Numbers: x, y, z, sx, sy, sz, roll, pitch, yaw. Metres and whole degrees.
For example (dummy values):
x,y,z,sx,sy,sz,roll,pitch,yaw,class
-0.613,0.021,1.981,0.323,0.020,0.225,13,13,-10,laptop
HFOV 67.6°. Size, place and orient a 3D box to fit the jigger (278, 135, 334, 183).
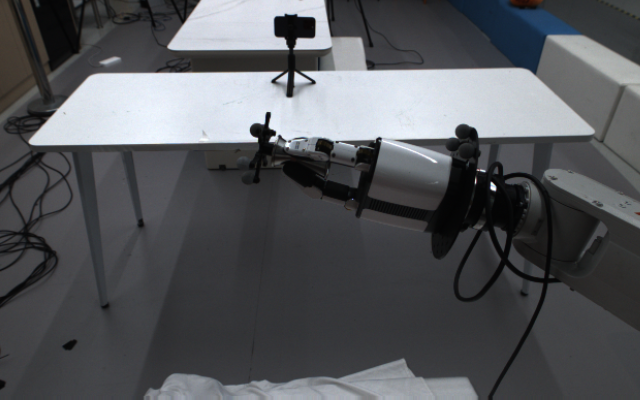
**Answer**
x,y,z,sx,sy,sz,roll,pitch,yaw,class
-0.014,-0.055,0.587,0.071,0.043,0.043,13,36,4,jigger
